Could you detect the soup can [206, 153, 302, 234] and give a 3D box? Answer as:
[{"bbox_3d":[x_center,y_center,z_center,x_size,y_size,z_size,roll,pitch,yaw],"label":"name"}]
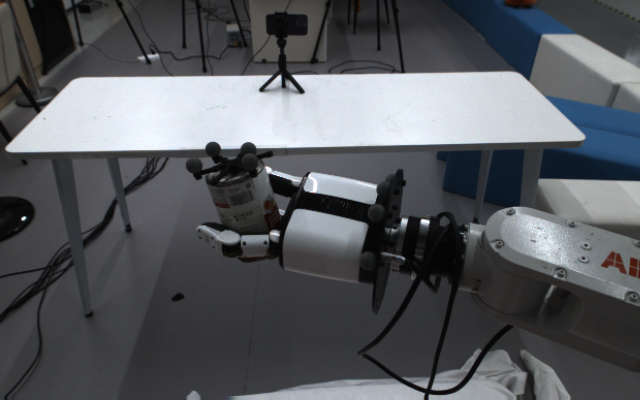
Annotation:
[{"bbox_3d":[-0.079,0.010,0.545,0.067,0.101,0.067,-11,27,6],"label":"soup can"}]
